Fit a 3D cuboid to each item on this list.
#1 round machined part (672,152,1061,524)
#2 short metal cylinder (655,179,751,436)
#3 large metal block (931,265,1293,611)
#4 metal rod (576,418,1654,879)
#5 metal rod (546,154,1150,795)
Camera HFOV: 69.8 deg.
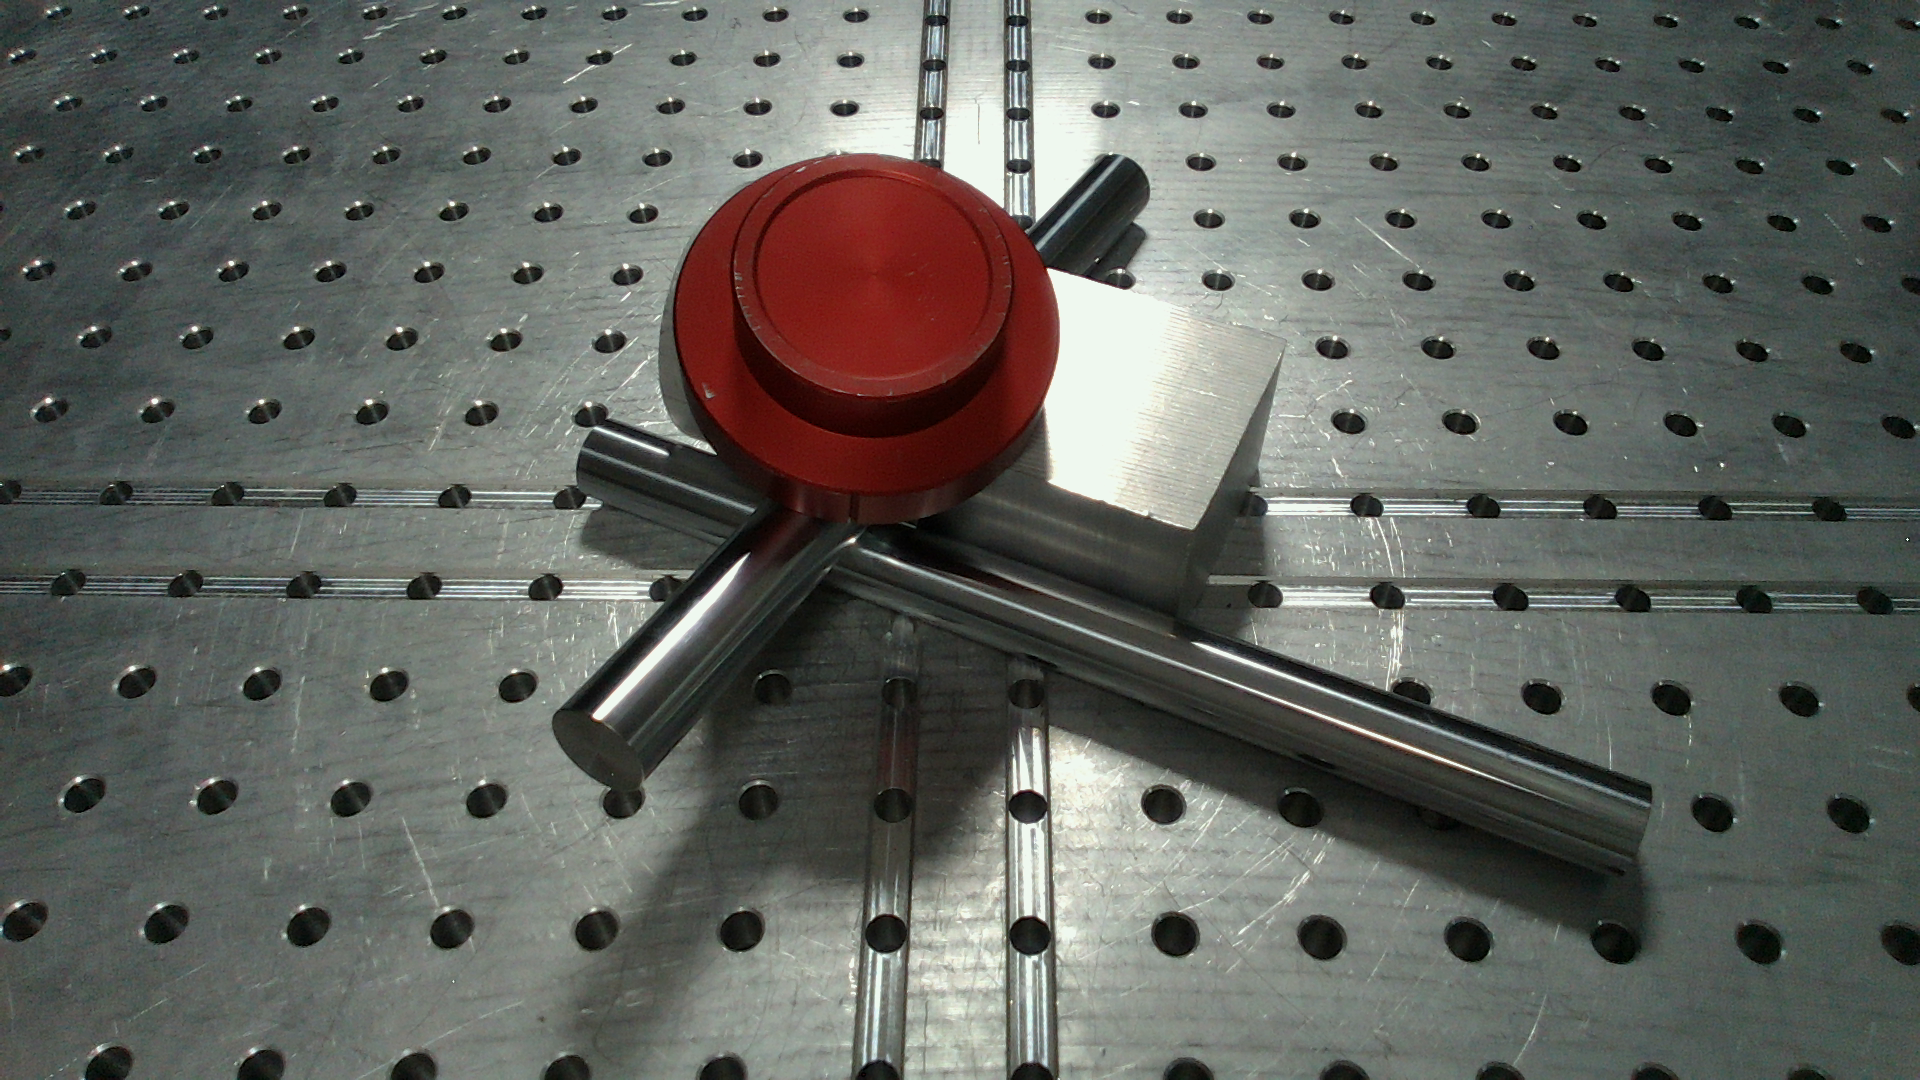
[{"bbox_3d":[-0.023,-0.057,0.346,0.098,0.042,0.098,2,70,-6],"label":"round machined part"},{"bbox_3d":[-0.047,-0.061,0.410,0.050,0.080,0.080,19,53,16],"label":"short metal cylinder"},{"bbox_3d":[0.041,-0.027,0.397,0.080,0.050,0.080,20,53,16],"label":"large metal block"},{"bbox_3d":[0.028,0.023,0.375,0.299,0.025,0.025,19,53,16],"label":"metal rod"},{"bbox_3d":[-0.012,-0.041,0.404,0.025,0.025,0.301,22,46,18],"label":"metal rod"}]
